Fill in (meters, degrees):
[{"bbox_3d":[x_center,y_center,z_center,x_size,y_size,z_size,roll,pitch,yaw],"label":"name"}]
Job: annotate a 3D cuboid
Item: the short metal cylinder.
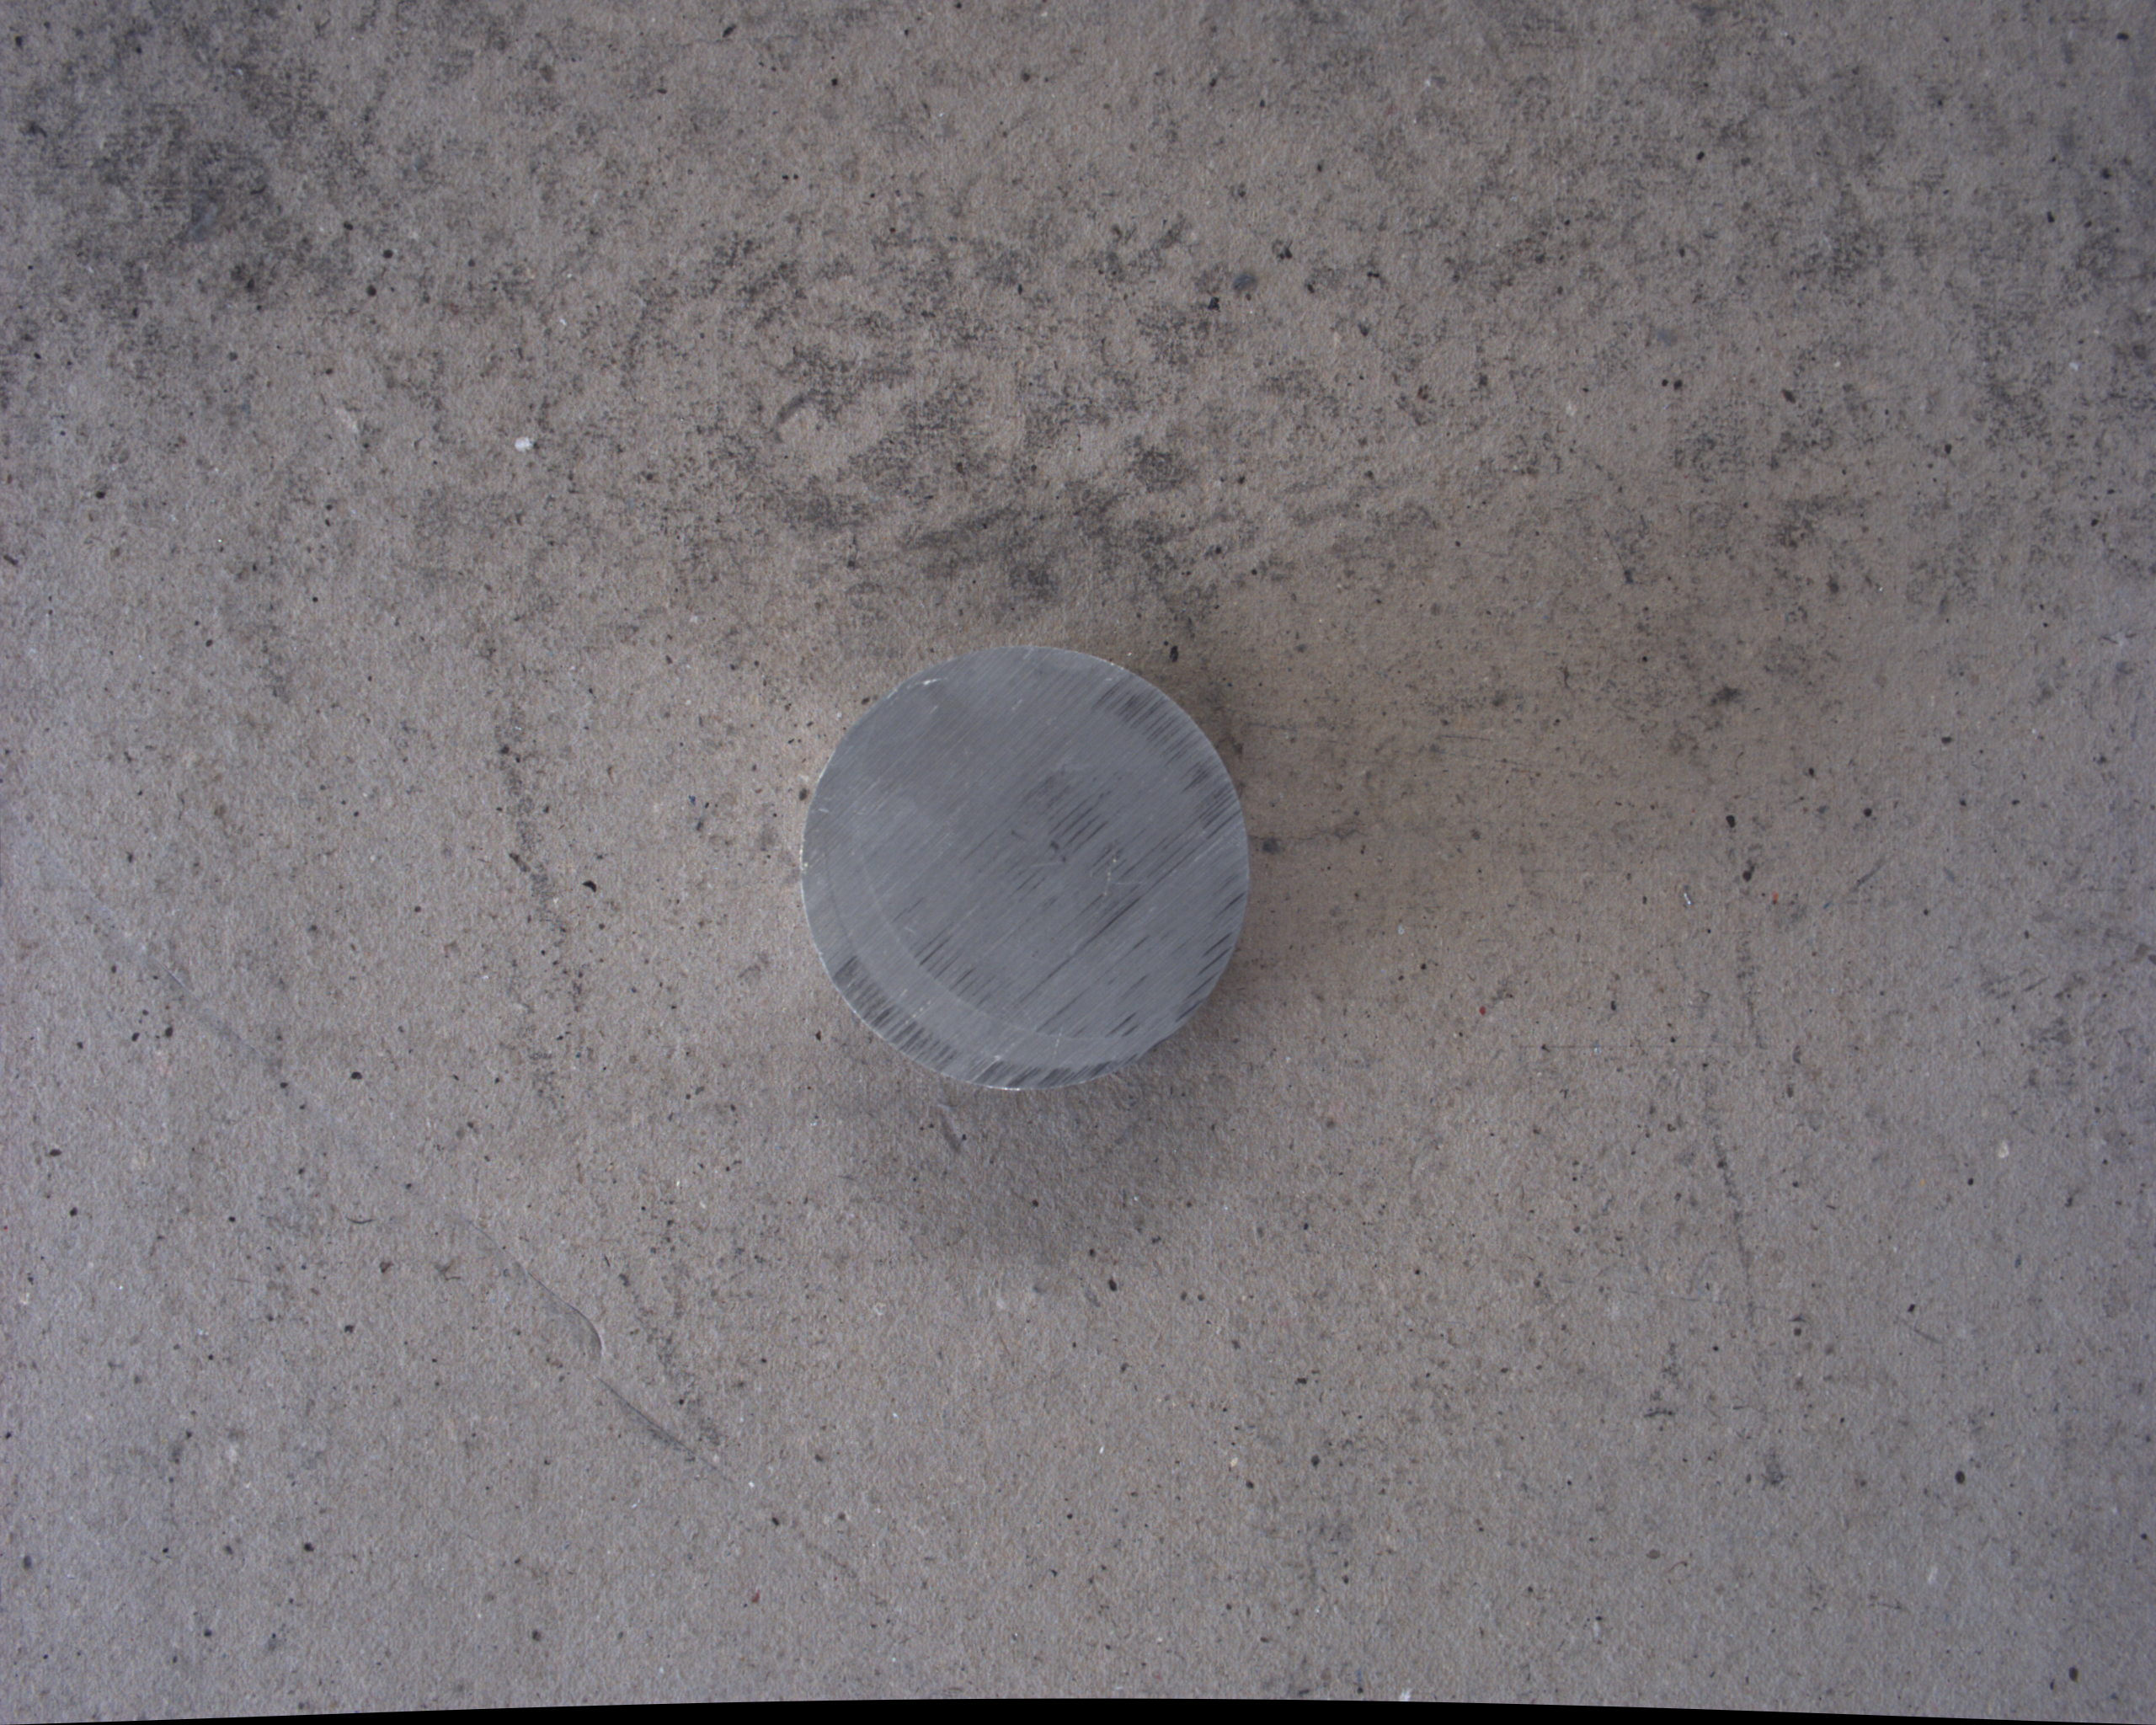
[{"bbox_3d":[-0.010,0.001,0.399,0.080,0.050,0.080,0,90,-1],"label":"short metal cylinder"}]
